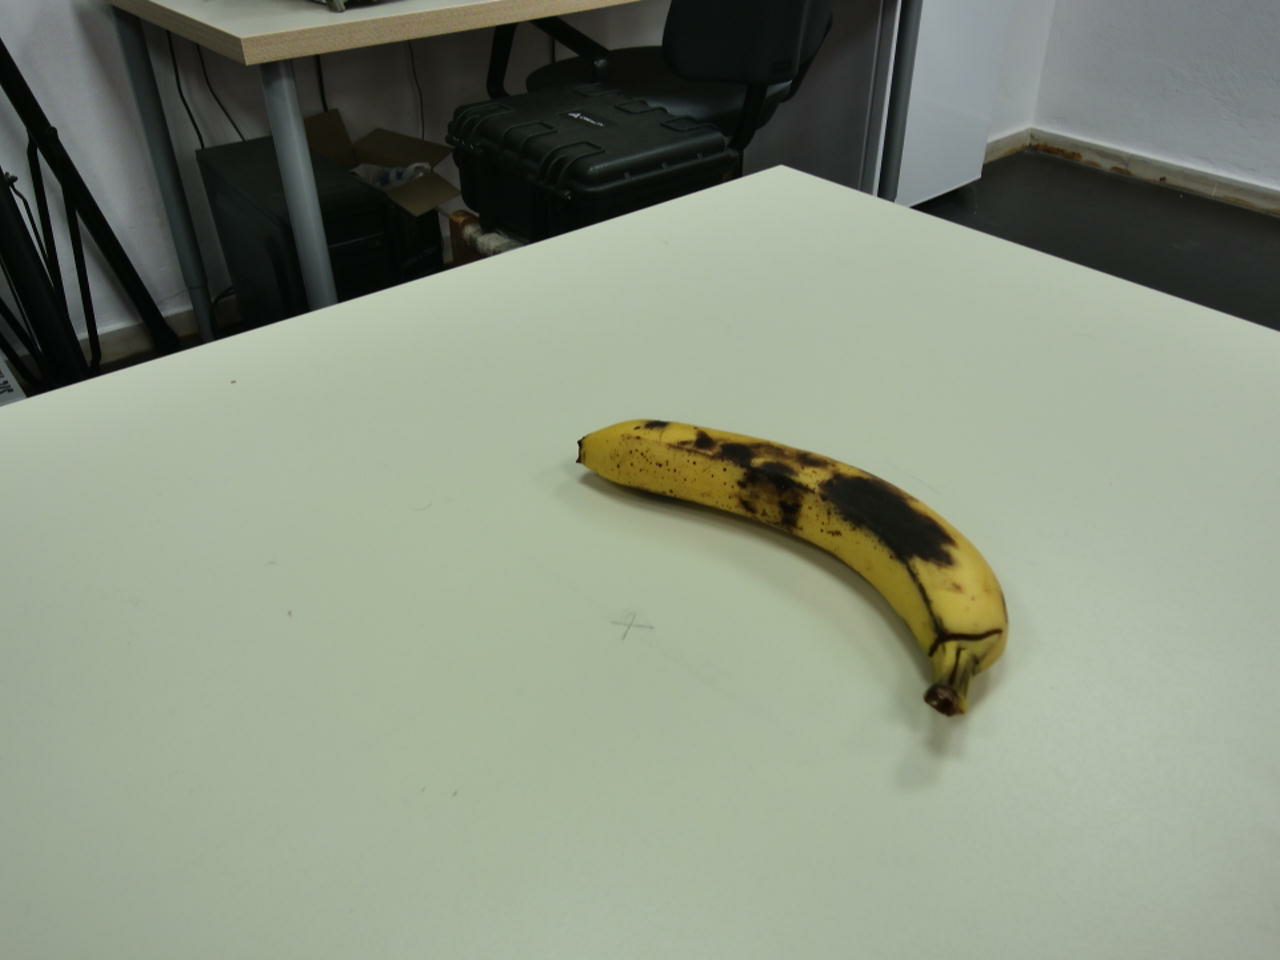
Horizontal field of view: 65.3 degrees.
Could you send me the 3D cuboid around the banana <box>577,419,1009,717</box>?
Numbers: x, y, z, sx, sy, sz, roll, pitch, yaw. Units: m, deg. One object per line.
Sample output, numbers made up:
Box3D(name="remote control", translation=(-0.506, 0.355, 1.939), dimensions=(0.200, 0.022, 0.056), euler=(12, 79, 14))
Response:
Box3D(name="banana", translation=(0.068, 0.017, 0.426), dimensions=(0.084, 0.037, 0.222), euler=(-24, 41, -29))
